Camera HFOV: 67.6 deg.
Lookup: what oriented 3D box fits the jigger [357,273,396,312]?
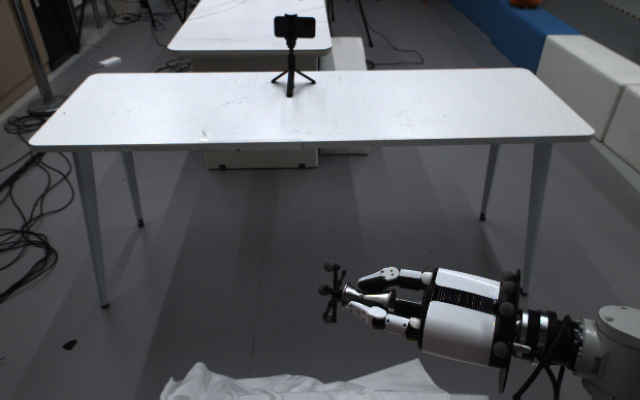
[{"bbox_3d":[0.075,0.138,0.683,0.071,0.043,0.043,6,34,22],"label":"jigger"}]
